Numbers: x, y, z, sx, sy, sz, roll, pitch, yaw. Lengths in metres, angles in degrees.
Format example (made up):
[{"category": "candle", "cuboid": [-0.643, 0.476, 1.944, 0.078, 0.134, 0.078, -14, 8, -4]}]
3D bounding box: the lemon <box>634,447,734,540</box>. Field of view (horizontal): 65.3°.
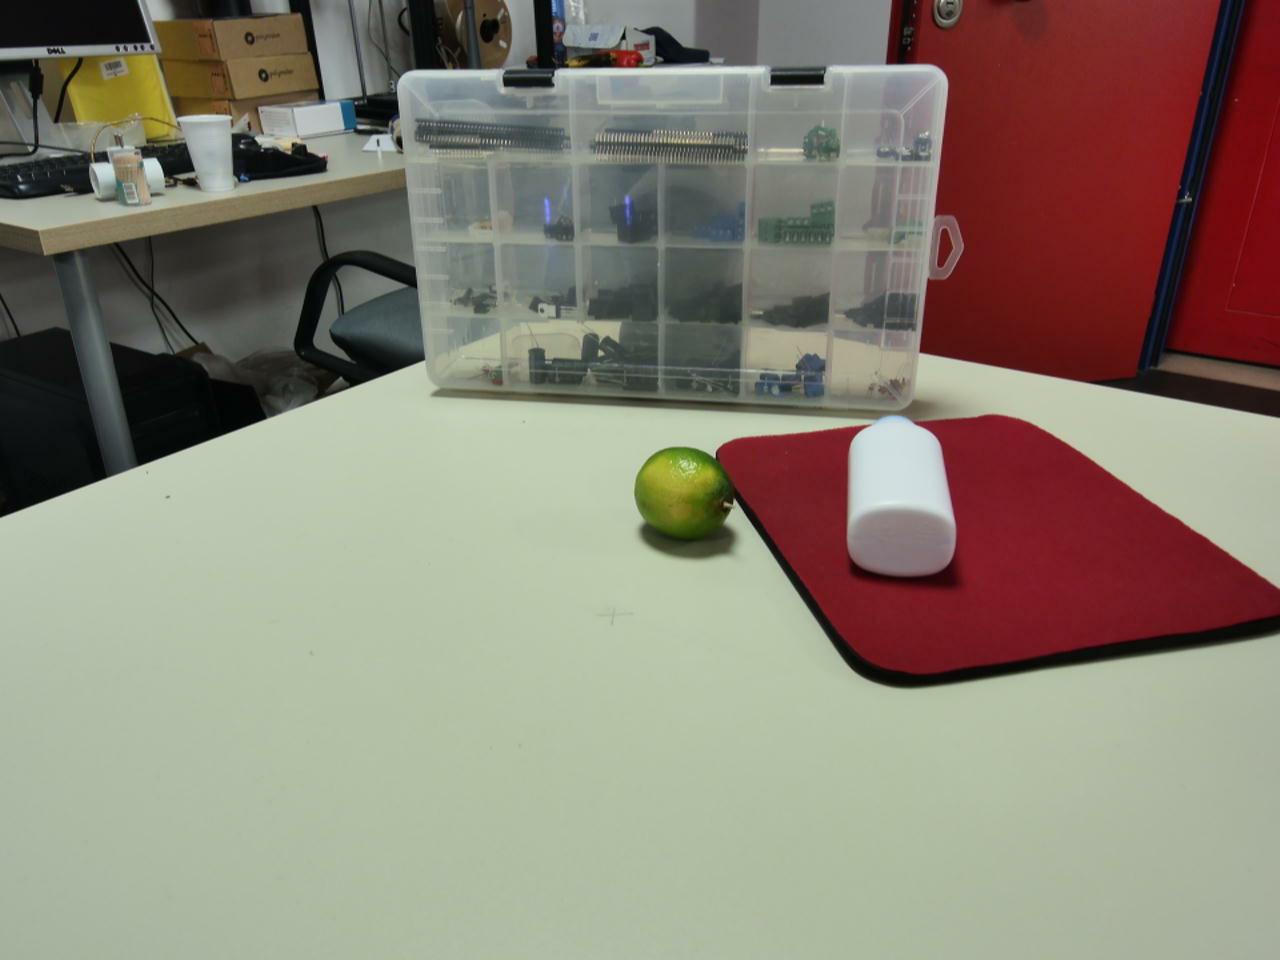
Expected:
[{"category": "lemon", "cuboid": [0.024, 0.007, 0.557, 0.054, 0.050, 0.055, -1, 24, -3]}]
